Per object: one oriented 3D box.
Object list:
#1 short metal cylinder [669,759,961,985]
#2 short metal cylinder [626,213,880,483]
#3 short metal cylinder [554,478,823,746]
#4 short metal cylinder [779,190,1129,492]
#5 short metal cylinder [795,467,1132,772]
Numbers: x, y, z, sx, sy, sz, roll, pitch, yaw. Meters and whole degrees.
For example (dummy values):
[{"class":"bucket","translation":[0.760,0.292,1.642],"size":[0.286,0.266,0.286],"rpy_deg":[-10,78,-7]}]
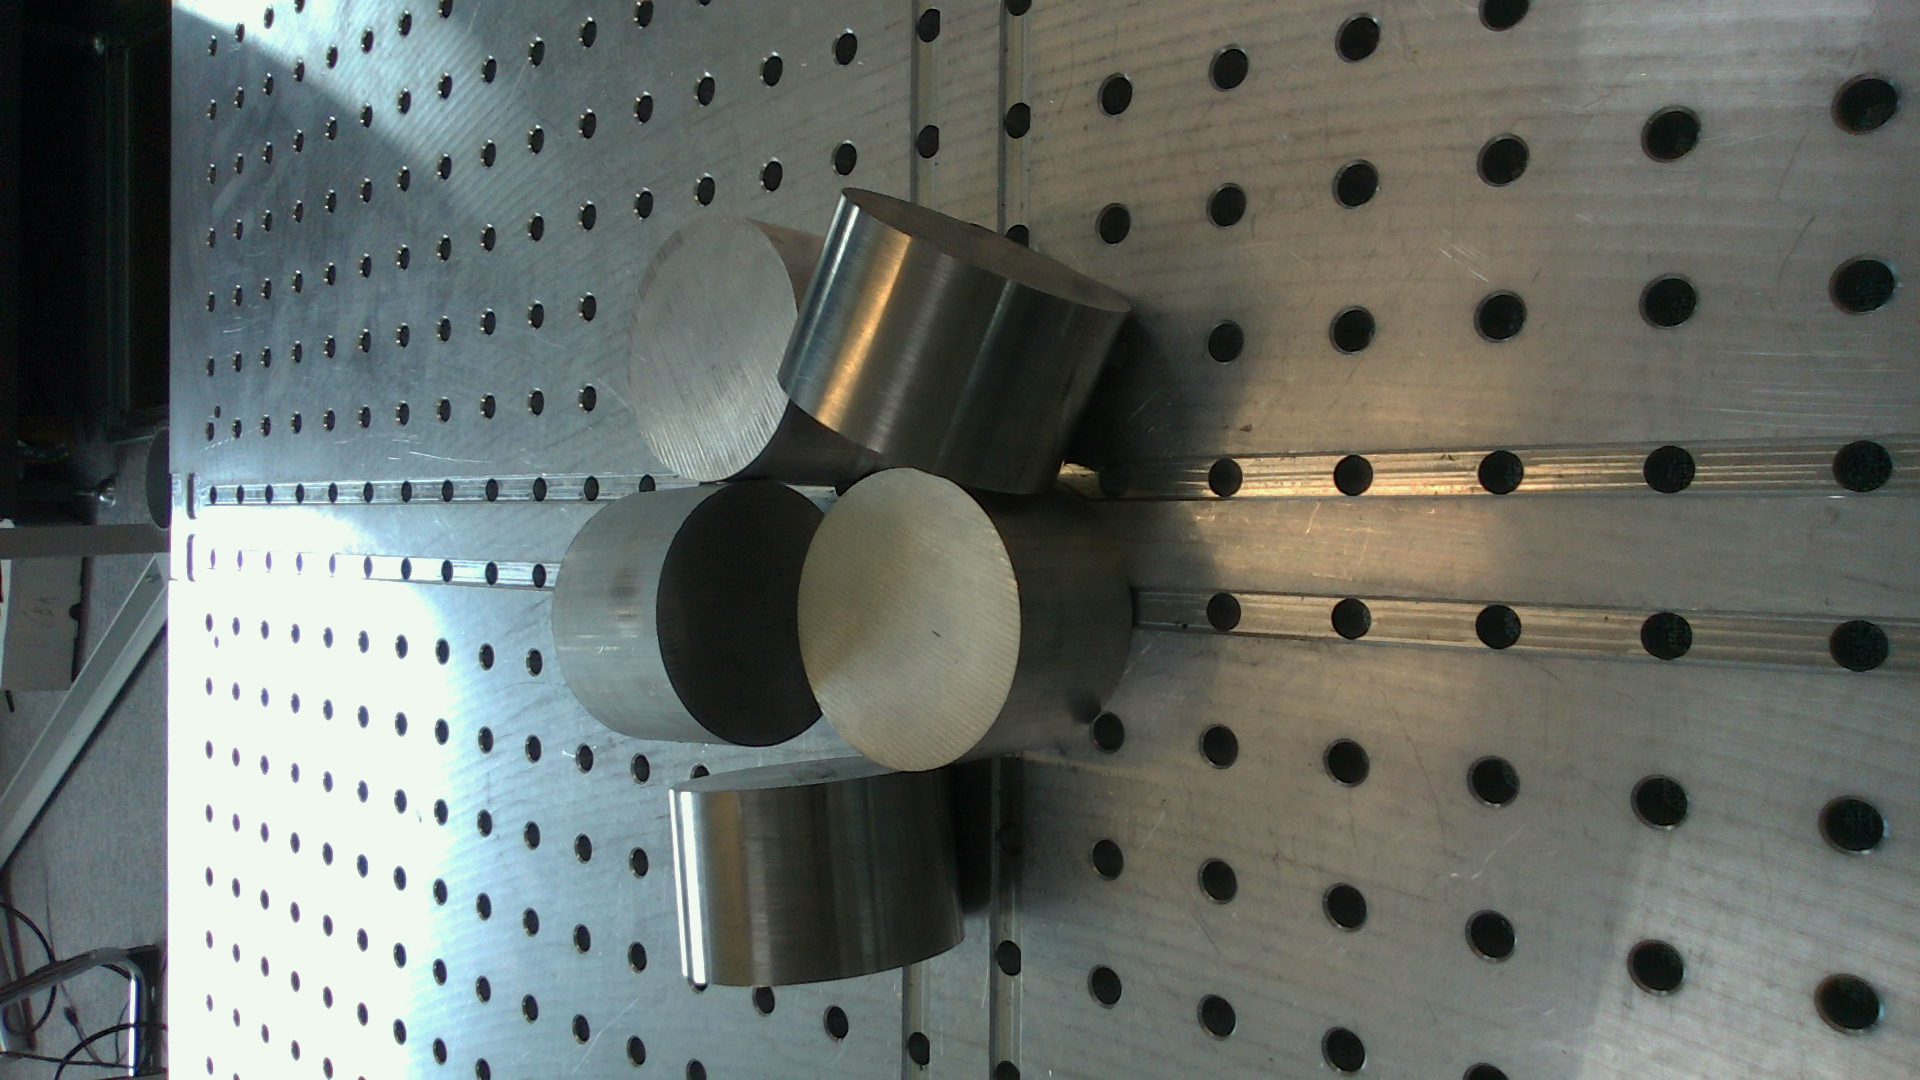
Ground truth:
[{"class":"short metal cylinder","translation":[-0.042,0.092,0.396],"size":[0.080,0.080,0.050],"rpy_deg":[-8,85,40]},{"class":"short metal cylinder","translation":[-0.060,-0.058,0.432],"size":[0.080,0.050,0.080],"rpy_deg":[0,90,41]},{"class":"short metal cylinder","translation":[-0.077,0.023,0.428],"size":[0.050,0.080,0.080],"rpy_deg":[-3,88,40]},{"class":"short metal cylinder","translation":[-0.002,-0.053,0.364],"size":[0.080,0.080,0.050],"rpy_deg":[35,111,34]},{"class":"short metal cylinder","translation":[0.000,0.021,0.382],"size":[0.080,0.050,0.080],"rpy_deg":[1,91,40]}]
